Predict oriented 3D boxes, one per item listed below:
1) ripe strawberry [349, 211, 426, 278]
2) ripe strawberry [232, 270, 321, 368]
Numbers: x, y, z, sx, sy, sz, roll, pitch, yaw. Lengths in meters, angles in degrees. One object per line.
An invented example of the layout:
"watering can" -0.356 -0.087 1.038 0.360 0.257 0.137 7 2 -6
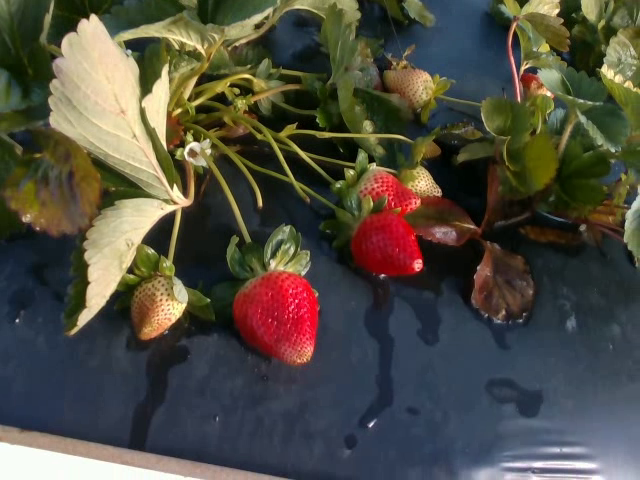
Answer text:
"ripe strawberry" 0.042 0.008 0.365 0.055 0.044 0.042 37 -4 47
"ripe strawberry" -0.021 0.043 0.319 0.050 0.049 0.065 -27 37 -4
